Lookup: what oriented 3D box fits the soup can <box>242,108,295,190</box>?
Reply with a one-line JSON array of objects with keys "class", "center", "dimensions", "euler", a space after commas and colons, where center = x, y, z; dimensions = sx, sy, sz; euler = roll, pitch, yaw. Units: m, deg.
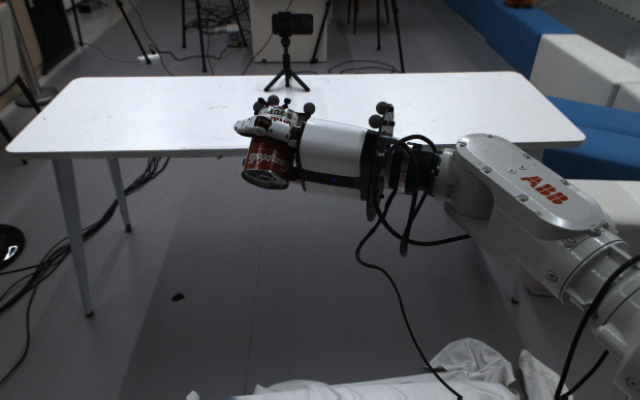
[{"class": "soup can", "center": [-0.066, -0.074, 0.681], "dimensions": [0.067, 0.067, 0.101], "euler": [9, 69, 10]}]
